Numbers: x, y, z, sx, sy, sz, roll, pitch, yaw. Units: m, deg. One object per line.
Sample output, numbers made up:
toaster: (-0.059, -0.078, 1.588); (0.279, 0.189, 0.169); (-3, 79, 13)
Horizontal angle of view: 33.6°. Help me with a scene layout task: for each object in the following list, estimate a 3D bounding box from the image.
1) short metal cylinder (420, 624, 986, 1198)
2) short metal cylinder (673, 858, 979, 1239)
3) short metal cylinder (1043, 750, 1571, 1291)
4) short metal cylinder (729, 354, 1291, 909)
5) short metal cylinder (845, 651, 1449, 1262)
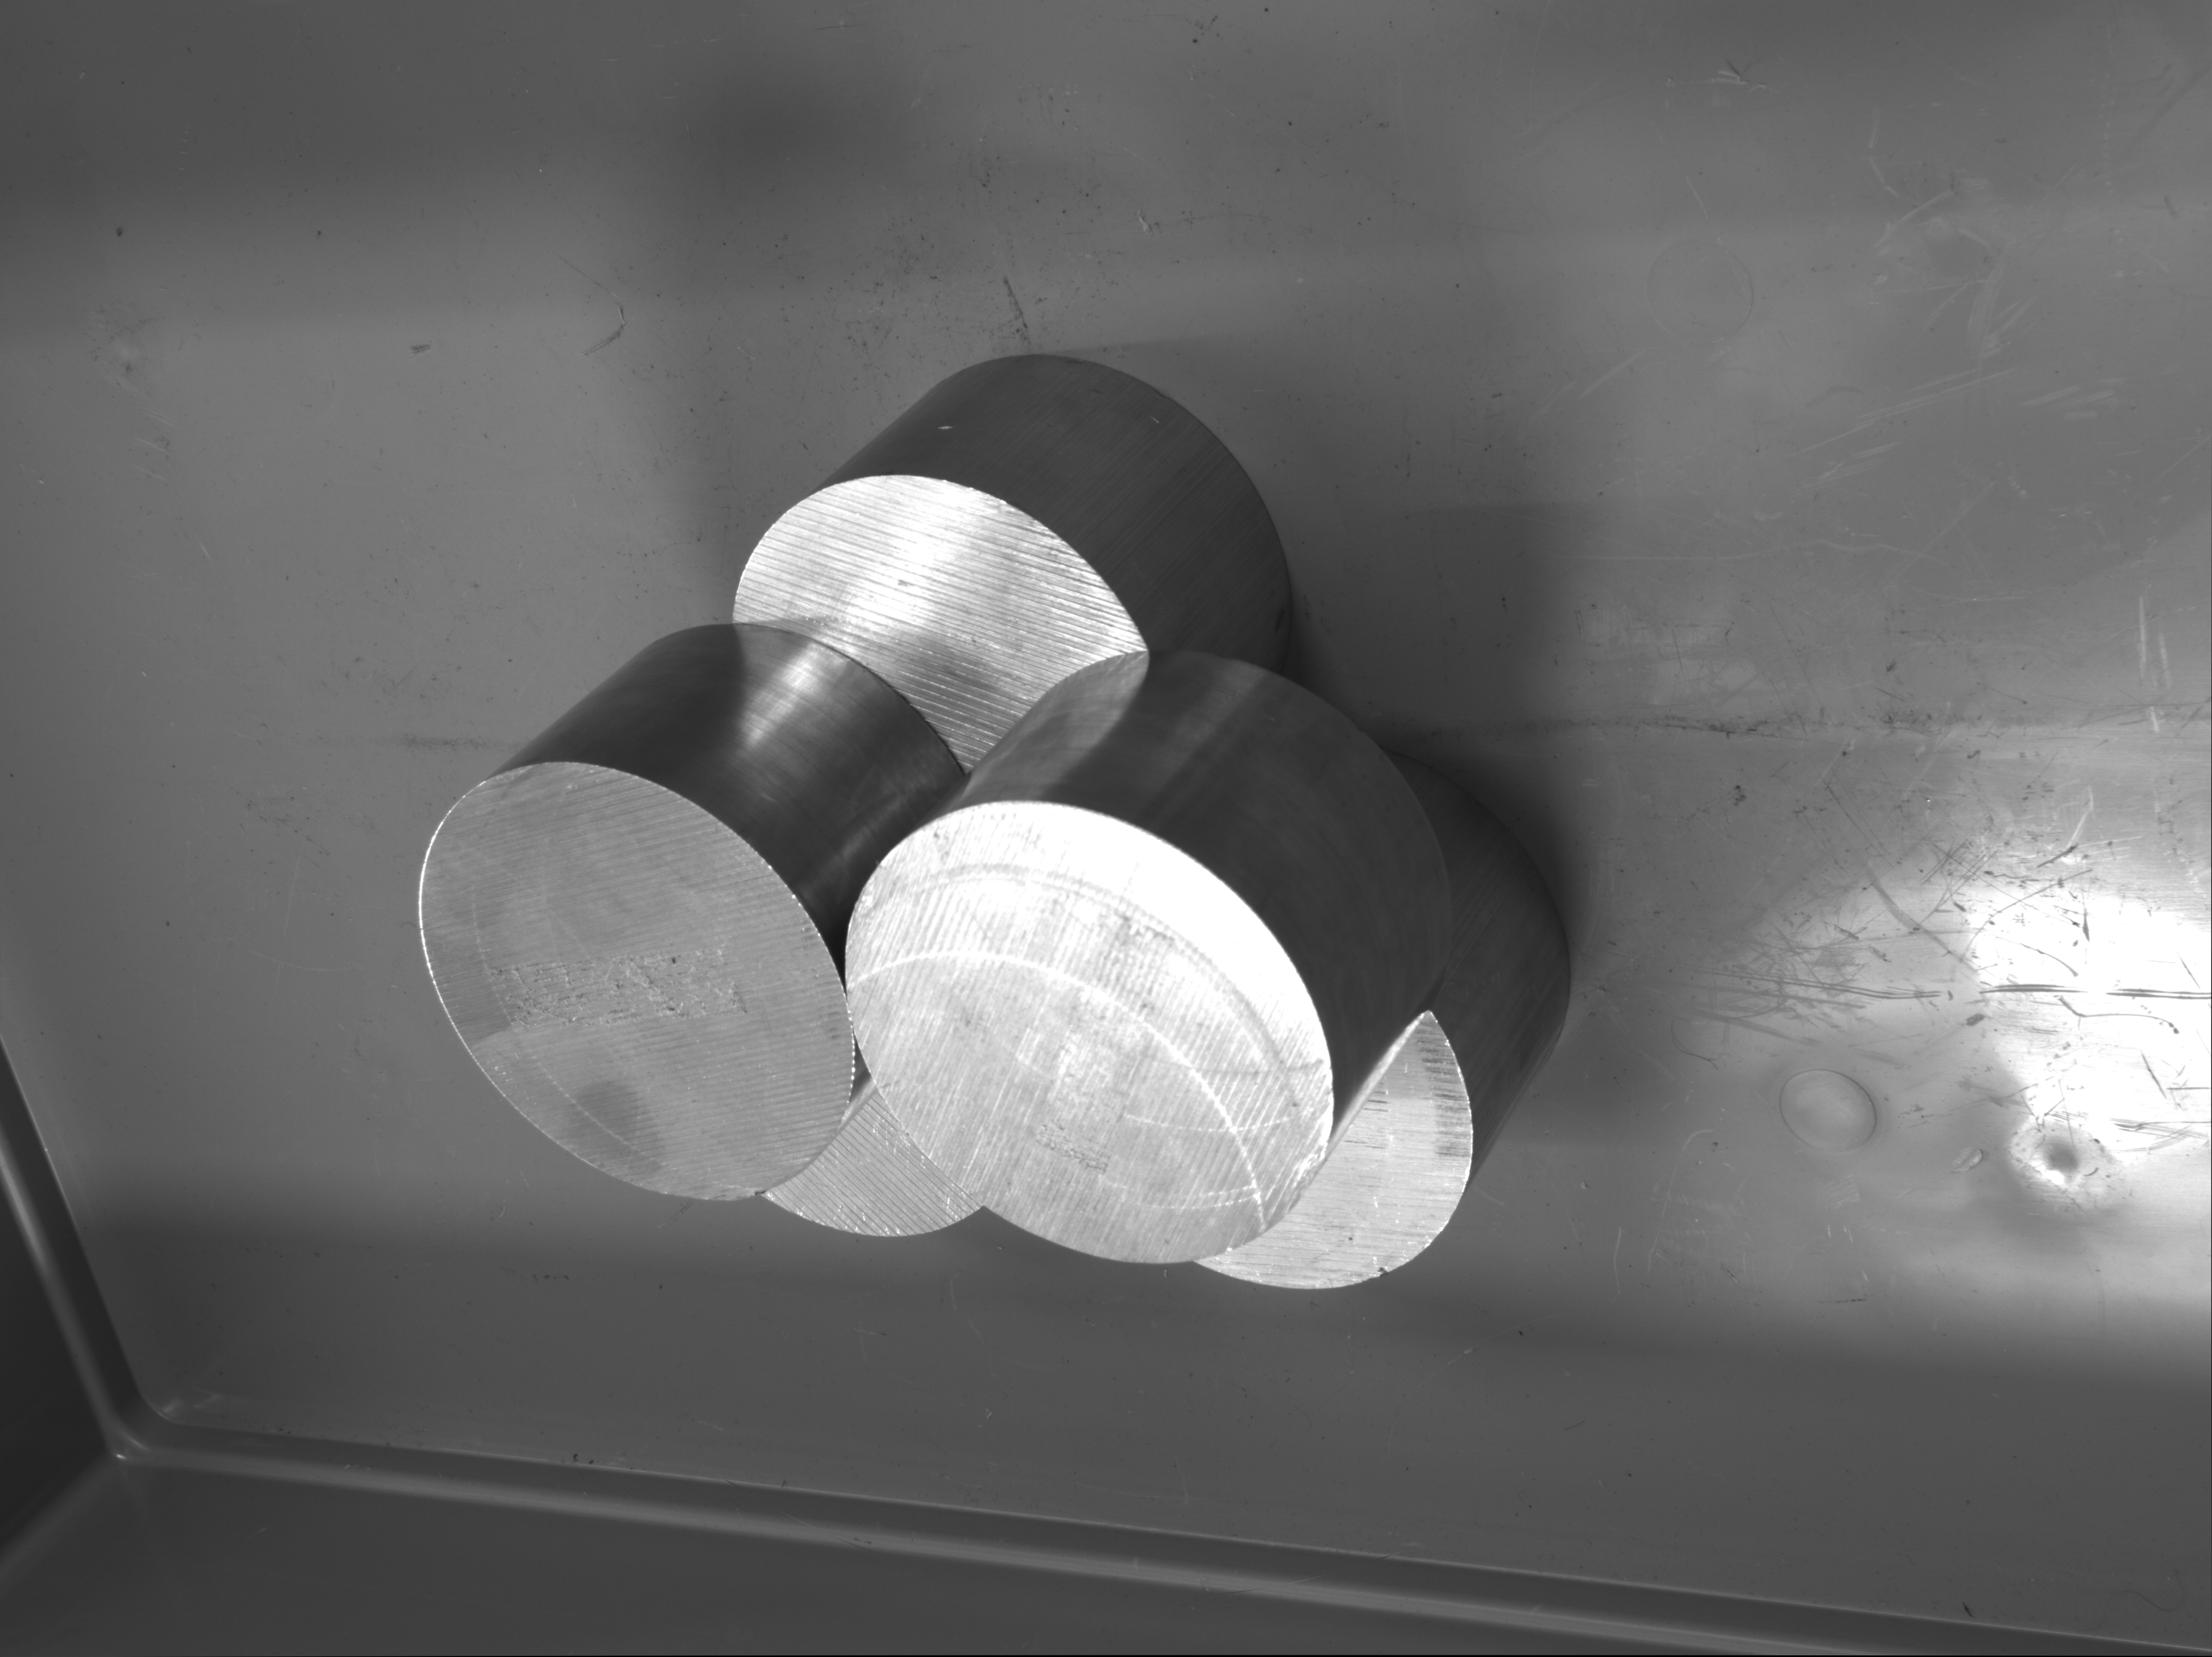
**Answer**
short metal cylinder: (-0.065, 0.013, 0.603); (0.080, 0.050, 0.080); (13, 124, 21)
short metal cylinder: (-0.040, 0.027, 0.662); (0.080, 0.050, 0.080); (13, 124, 21)
short metal cylinder: (0.033, 0.031, 0.626); (0.080, 0.050, 0.080); (13, 124, 21)
short metal cylinder: (-0.016, -0.033, 0.613); (0.080, 0.050, 0.080); (13, 124, 21)
short metal cylinder: (0.007, 0.020, 0.567); (0.080, 0.050, 0.080); (13, 124, 21)
